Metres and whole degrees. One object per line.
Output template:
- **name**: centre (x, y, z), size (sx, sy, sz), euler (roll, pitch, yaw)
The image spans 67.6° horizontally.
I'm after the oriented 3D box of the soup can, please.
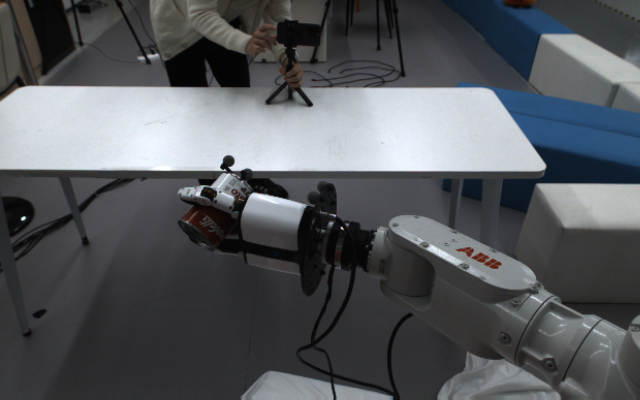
- **soup can**: centre (-0.149, 0.016, 0.709), size (0.067, 0.067, 0.101), euler (23, 61, 28)
